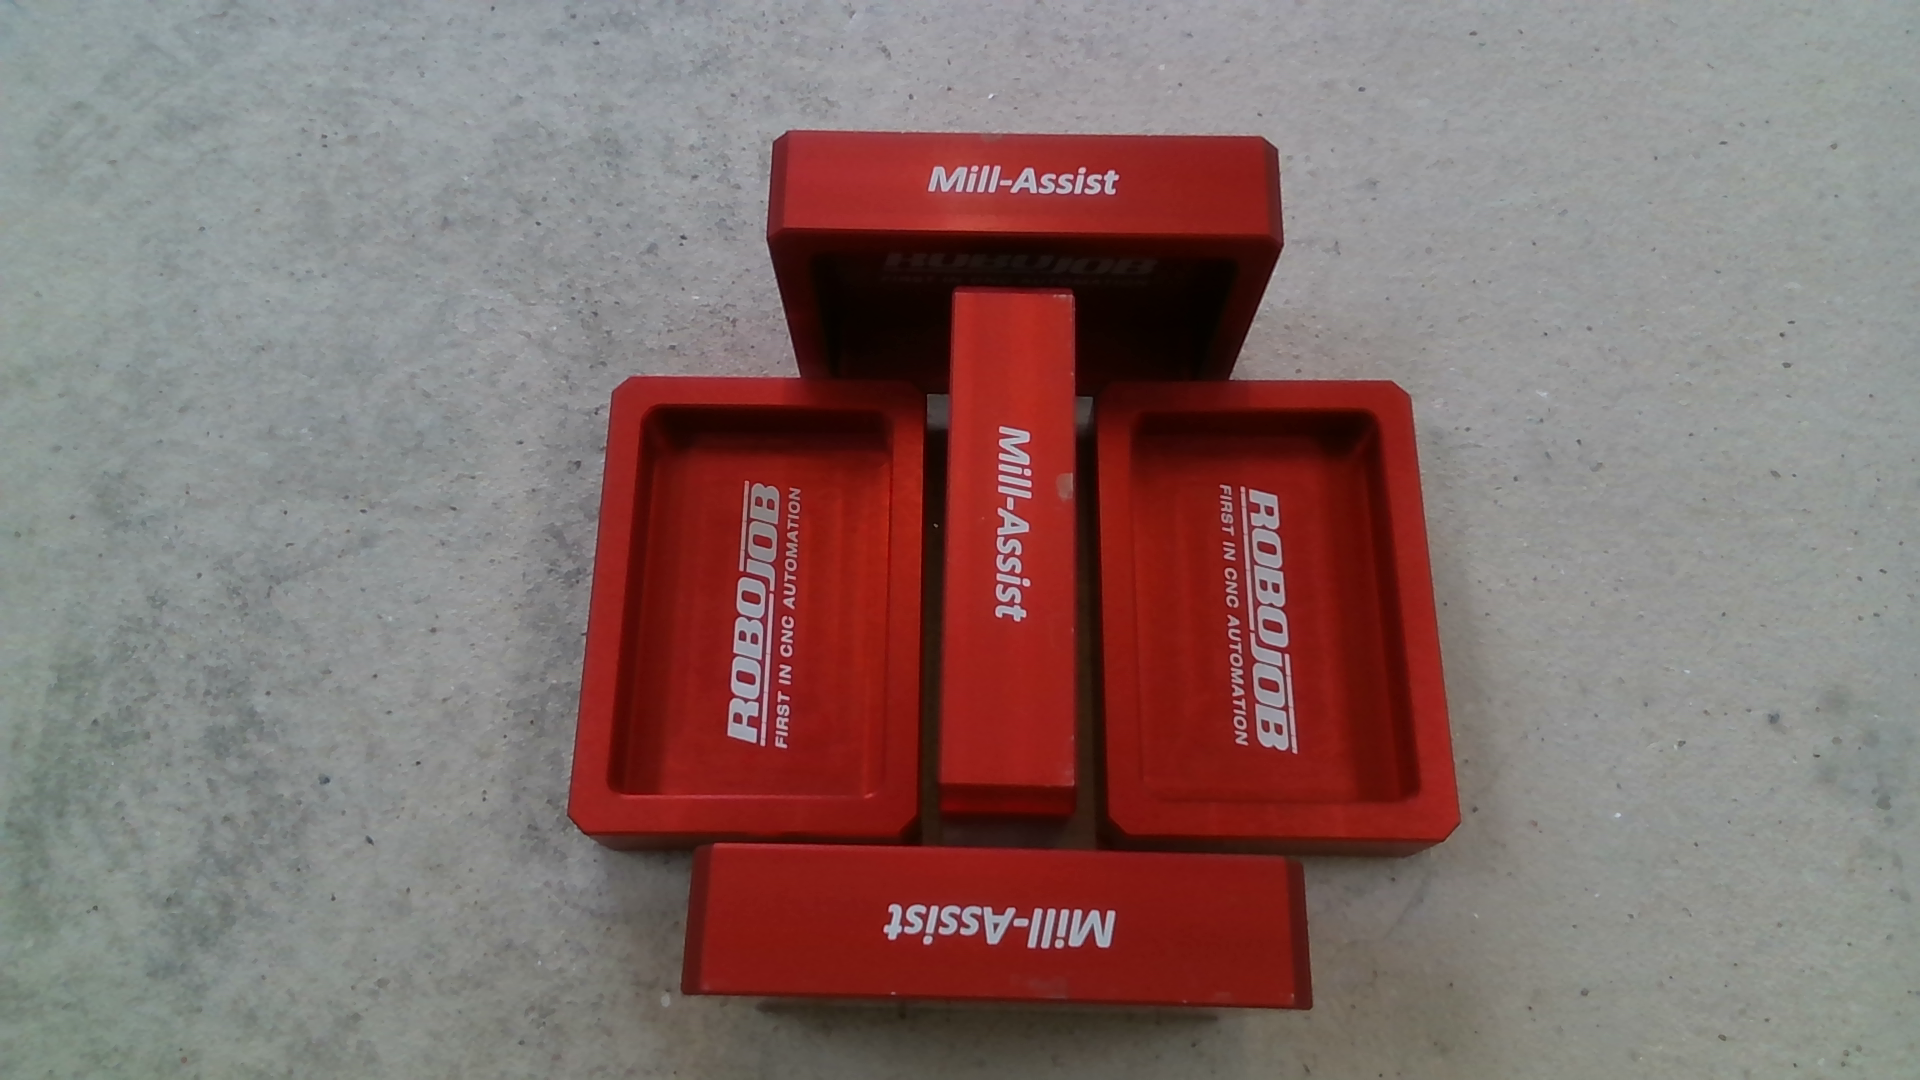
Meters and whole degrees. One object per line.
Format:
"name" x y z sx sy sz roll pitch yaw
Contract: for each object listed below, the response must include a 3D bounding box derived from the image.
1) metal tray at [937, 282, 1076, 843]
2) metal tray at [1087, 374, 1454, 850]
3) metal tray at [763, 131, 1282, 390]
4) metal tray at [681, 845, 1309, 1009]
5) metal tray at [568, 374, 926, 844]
"metal tray" 0.012 0.010 0.359 0.030 0.090 0.130 1 70 2
"metal tray" 0.082 0.019 0.386 0.090 0.030 0.130 -1 70 3
"metal tray" 0.016 -0.075 0.388 0.130 0.090 0.030 1 71 1
"metal tray" 0.007 0.095 0.327 0.130 0.090 0.030 1 70 0
"metal tray" -0.056 0.019 0.388 0.090 0.030 0.130 1 70 -1
